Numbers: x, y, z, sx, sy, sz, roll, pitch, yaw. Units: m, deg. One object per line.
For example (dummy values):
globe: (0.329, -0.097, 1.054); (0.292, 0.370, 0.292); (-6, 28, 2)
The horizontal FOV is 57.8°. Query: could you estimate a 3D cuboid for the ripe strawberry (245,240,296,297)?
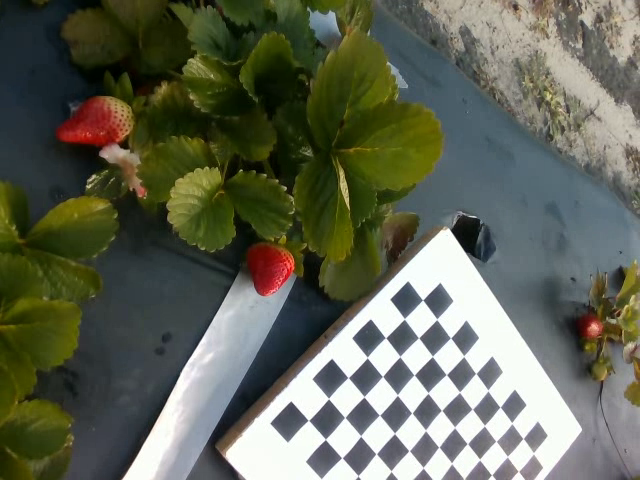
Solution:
ripe strawberry: (-0.036, 0.026, 0.429); (0.035, 0.055, 0.050); (-7, -47, 49)
